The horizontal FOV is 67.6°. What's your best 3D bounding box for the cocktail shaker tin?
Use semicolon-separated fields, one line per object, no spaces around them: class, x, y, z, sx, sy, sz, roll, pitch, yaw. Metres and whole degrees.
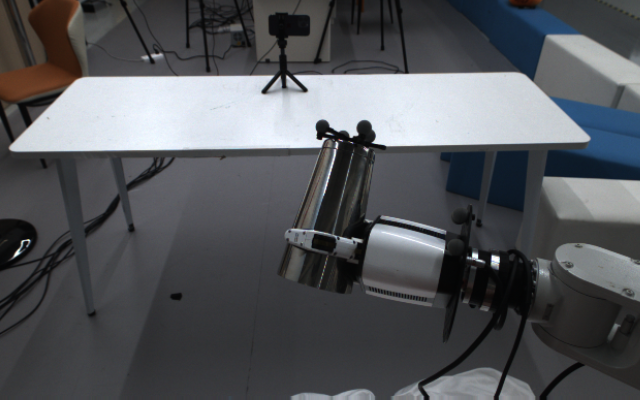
cocktail shaker tin;0.015;0.018;0.585;0.093;0.170;0.093;15;-4;1
